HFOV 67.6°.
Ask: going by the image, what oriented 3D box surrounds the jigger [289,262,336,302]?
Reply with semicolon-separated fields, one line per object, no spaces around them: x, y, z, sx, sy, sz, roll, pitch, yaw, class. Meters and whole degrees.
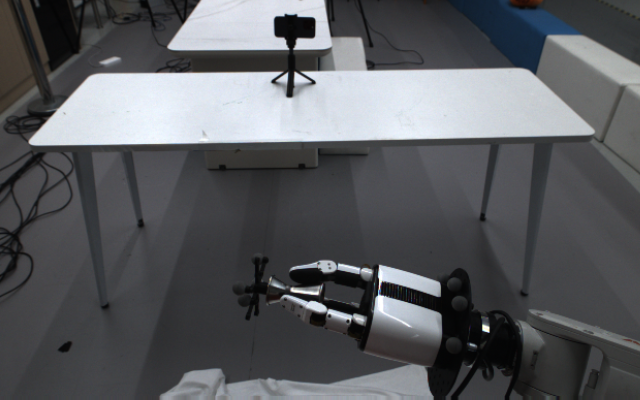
-0.022;0.113;0.615;0.071;0.043;0.043;6;35;8;jigger
